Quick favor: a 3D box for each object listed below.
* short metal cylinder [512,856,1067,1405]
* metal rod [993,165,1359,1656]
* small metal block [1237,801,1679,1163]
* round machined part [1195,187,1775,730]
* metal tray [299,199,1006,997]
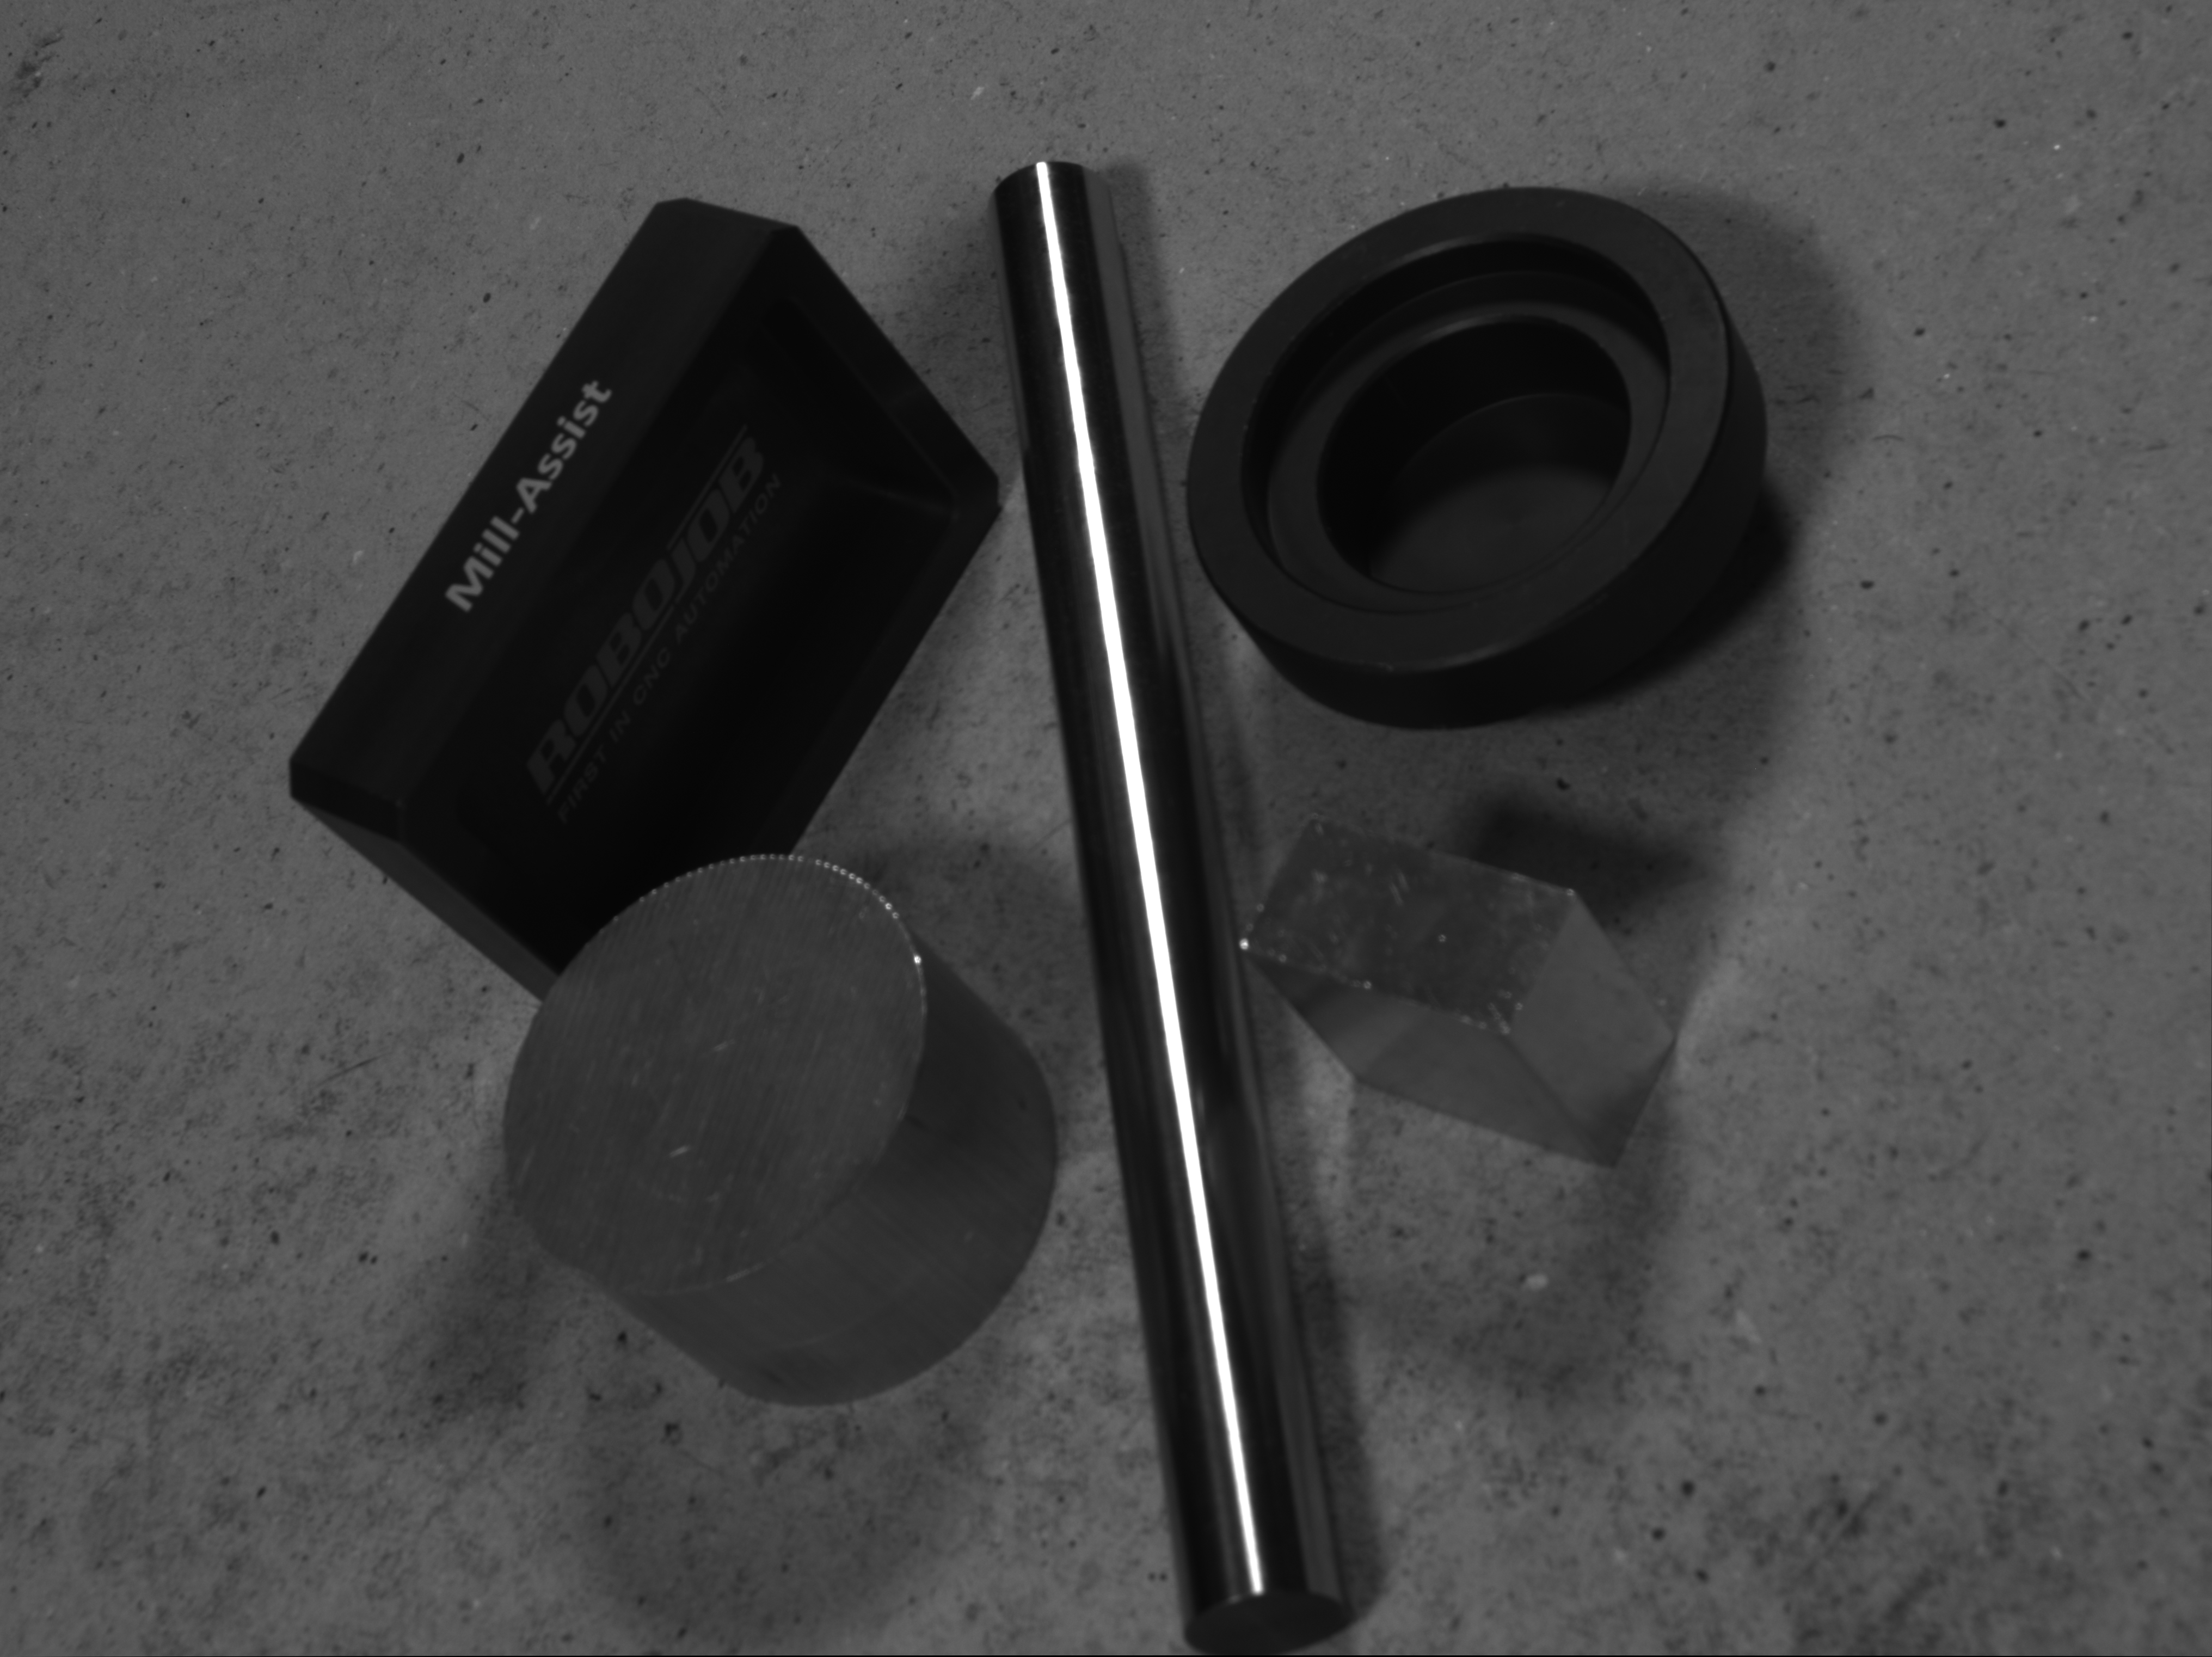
[{"bbox_3d":[-0.054,0.052,0.625,0.080,0.050,0.080,-13,56,21],"label":"short metal cylinder"},{"bbox_3d":[0.008,-0.001,0.641,0.025,0.025,0.300,-20,54,16],"label":"metal rod"},{"bbox_3d":[0.056,0.024,0.579,0.050,0.050,0.025,18,71,35],"label":"small metal block"},{"bbox_3d":[0.068,-0.059,0.633,0.098,0.042,0.098,-13,56,21],"label":"round machined part"},{"bbox_3d":[-0.079,-0.036,0.668,0.030,0.090,0.130,20,72,36],"label":"metal tray"}]
